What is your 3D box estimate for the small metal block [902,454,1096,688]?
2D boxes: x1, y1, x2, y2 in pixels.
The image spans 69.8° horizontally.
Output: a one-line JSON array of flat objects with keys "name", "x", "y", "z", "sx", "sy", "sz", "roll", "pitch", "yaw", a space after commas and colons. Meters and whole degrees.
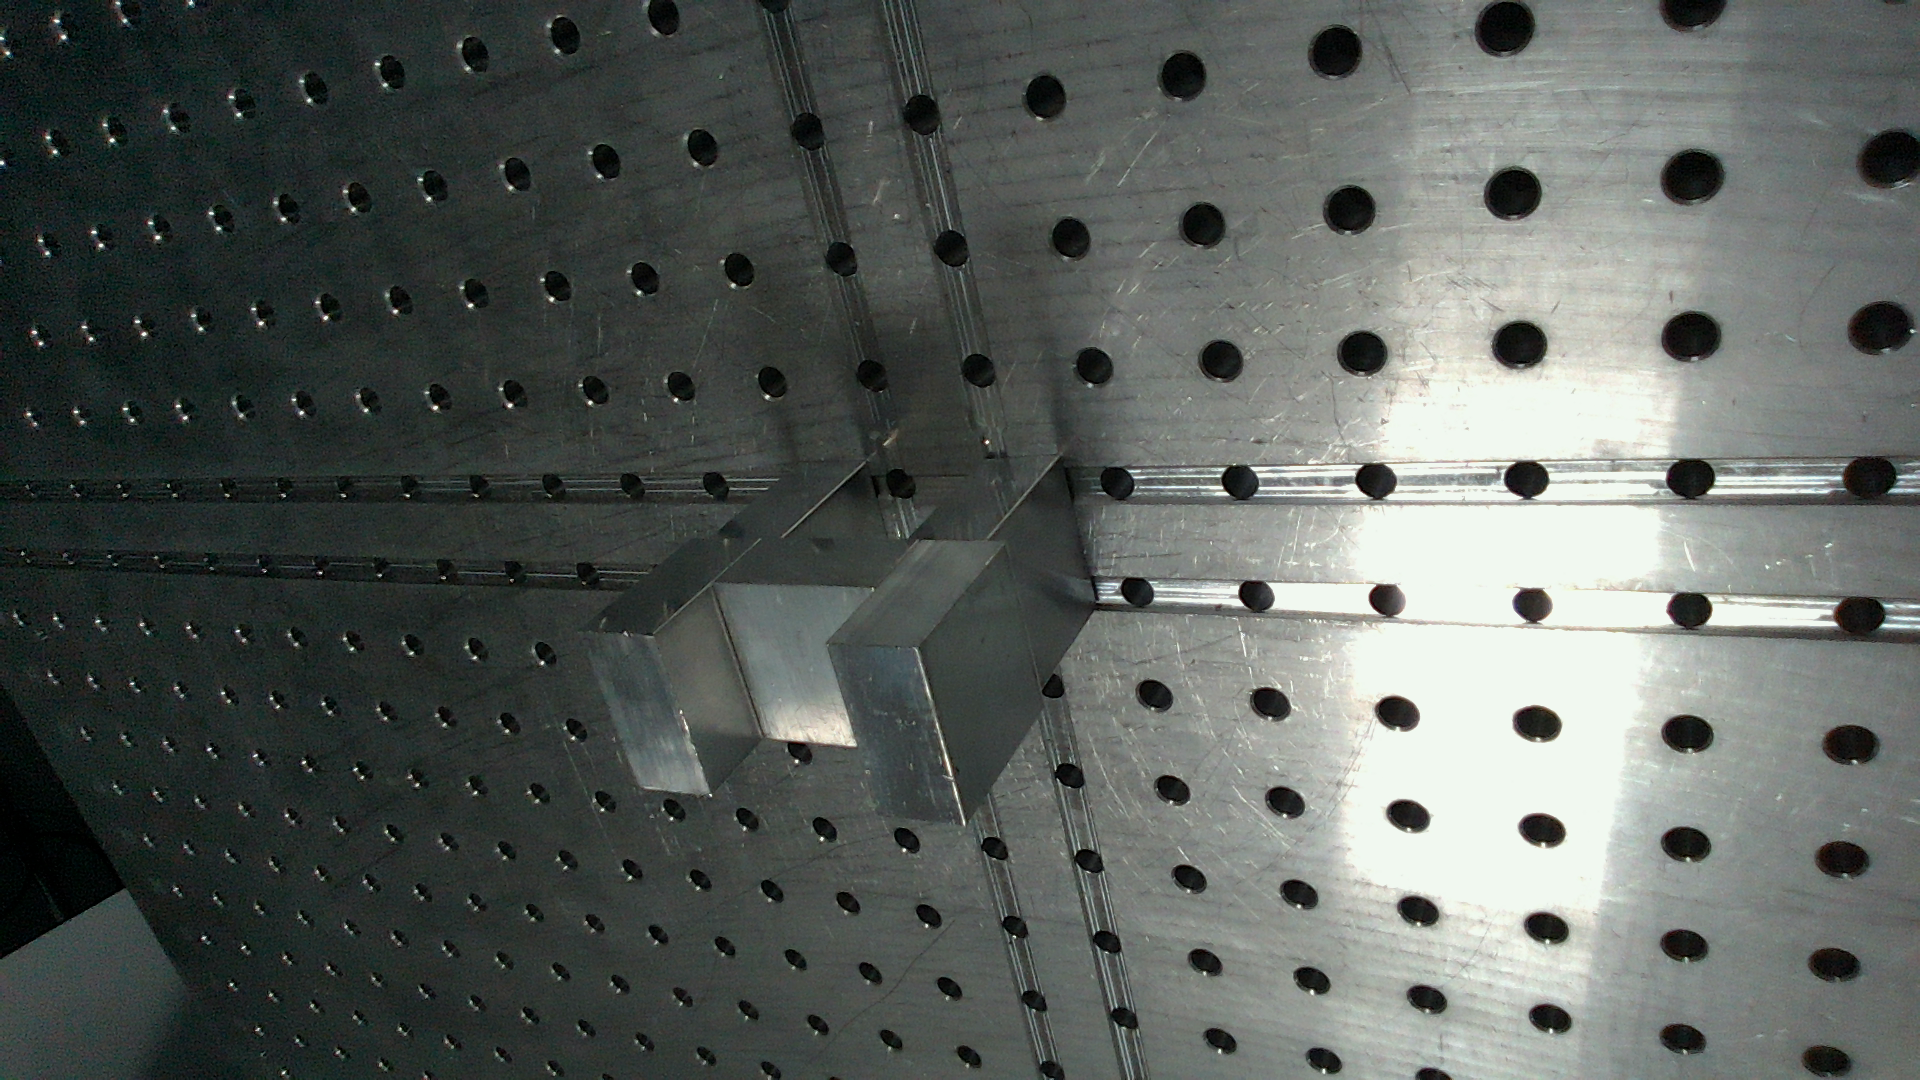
[{"name": "small metal block", "x": 0.012, "y": 0.010, "z": 0.379, "sx": 0.025, "sy": 0.050, "sz": 0.050, "roll": -1, "pitch": 118, "yaw": 29}]

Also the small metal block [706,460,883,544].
[{"name": "small metal block", "x": -0.045, "y": 0.010, "z": 0.409, "sx": 0.025, "sy": 0.050, "sz": 0.050, "roll": 1, "pitch": 119, "yaw": 28}]

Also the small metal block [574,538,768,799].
[{"name": "small metal block", "x": -0.071, "y": 0.033, "z": 0.372, "sx": 0.025, "sy": 0.050, "sz": 0.050, "roll": 1, "pitch": 118, "yaw": 29}]

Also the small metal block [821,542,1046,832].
[{"name": "small metal block", "x": -0.004, "y": 0.034, "z": 0.337, "sx": 0.025, "sy": 0.050, "sz": 0.050, "roll": 1, "pitch": 118, "yaw": 29}]

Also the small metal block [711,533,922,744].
[{"name": "small metal block", "x": -0.032, "y": 0.026, "z": 0.366, "sx": 0.050, "sy": 0.025, "sz": 0.050, "roll": 1, "pitch": 119, "yaw": 28}]
